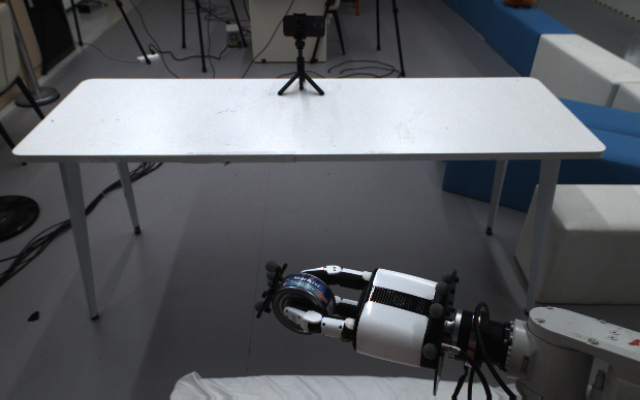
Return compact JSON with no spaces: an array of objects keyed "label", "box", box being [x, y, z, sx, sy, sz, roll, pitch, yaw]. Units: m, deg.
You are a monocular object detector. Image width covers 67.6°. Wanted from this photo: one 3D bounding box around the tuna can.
[{"label":"tuna can","box":[-0.020,0.149,0.672,0.085,0.085,0.034,12,30,14]}]
